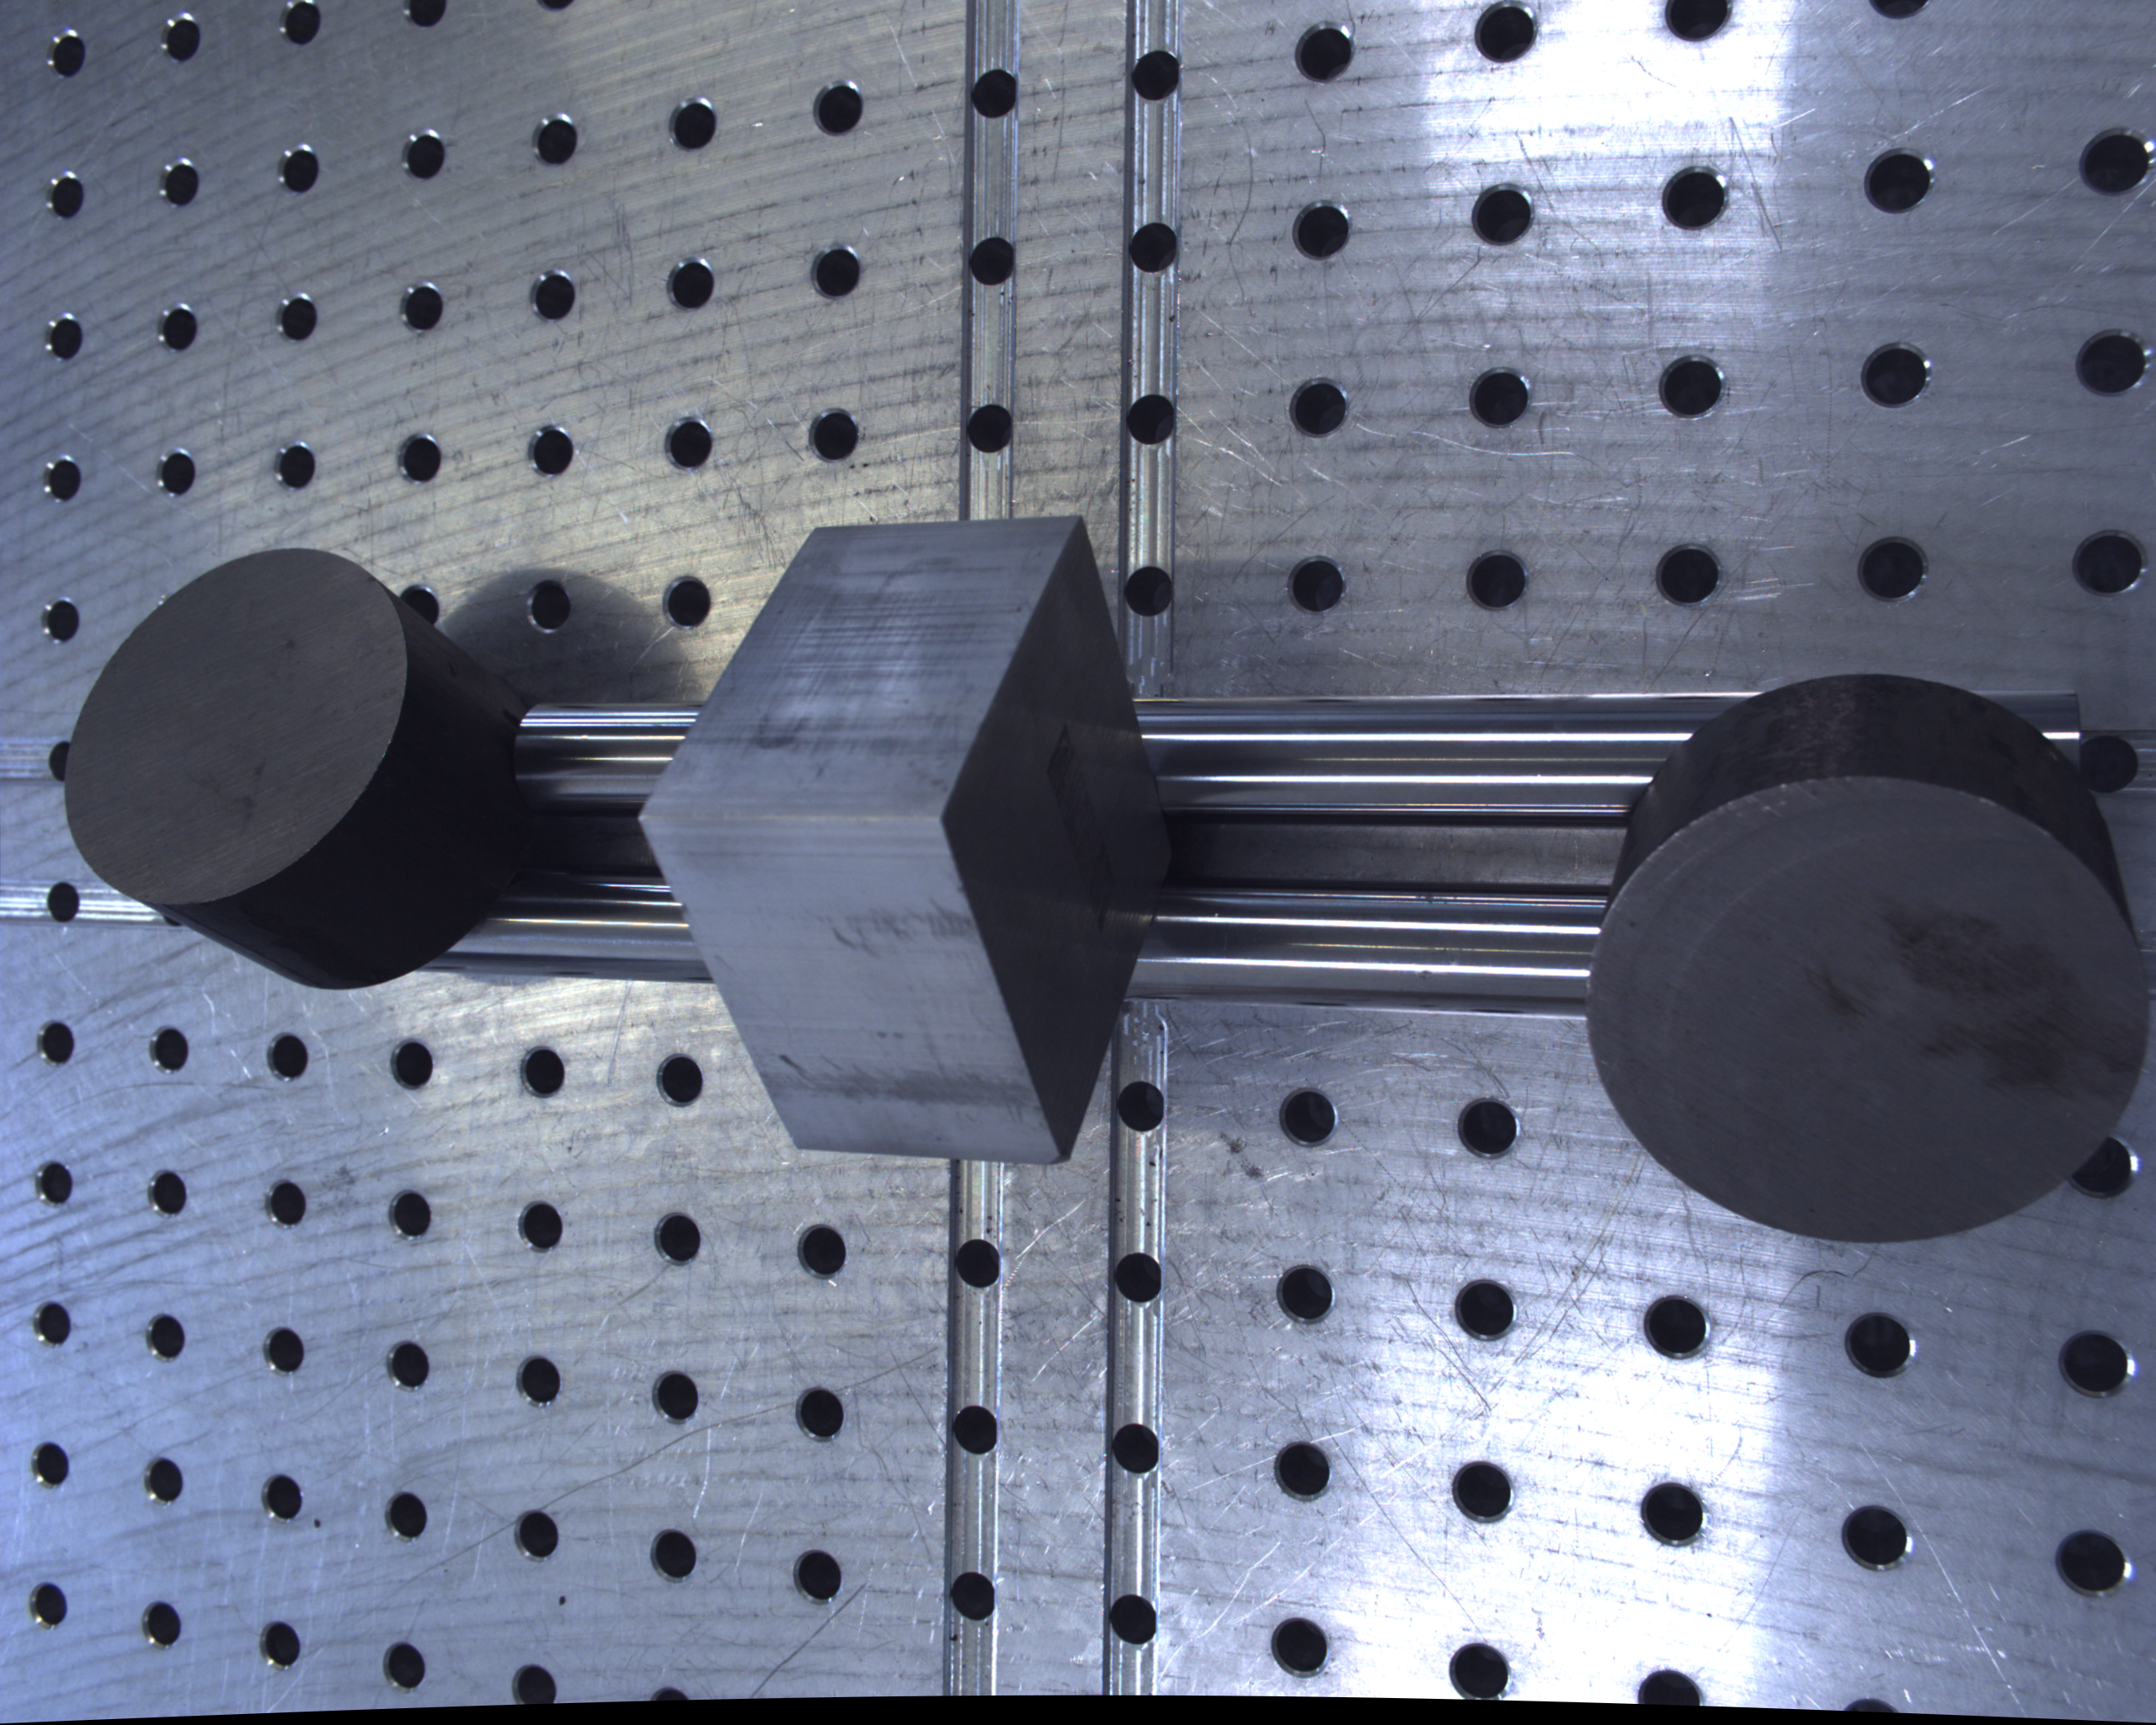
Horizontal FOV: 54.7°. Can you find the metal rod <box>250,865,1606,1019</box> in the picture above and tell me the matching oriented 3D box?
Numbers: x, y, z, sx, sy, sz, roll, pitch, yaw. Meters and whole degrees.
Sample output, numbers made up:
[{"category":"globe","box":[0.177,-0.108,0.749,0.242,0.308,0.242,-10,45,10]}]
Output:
[{"category":"metal rod","box":[-0.044,0.014,0.427,0.301,0.025,0.025,1,90,19]}]

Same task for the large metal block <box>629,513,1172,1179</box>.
[{"category":"large metal block","box":[-0.025,-0.004,0.360,0.050,0.080,0.080,1,132,20]}]

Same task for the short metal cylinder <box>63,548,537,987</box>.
[{"category":"short metal cylinder","box":[-0.163,-0.019,0.441,0.080,0.050,0.080,-7,65,16]}]

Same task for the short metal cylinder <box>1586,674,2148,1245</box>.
[{"category":"short metal cylinder","box":[0.127,0.015,0.340,0.080,0.050,0.079,8,115,17]}]

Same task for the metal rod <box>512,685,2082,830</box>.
[{"category":"metal rod","box":[0.026,-0.020,0.402,0.301,0.025,0.025,1,90,19]}]
